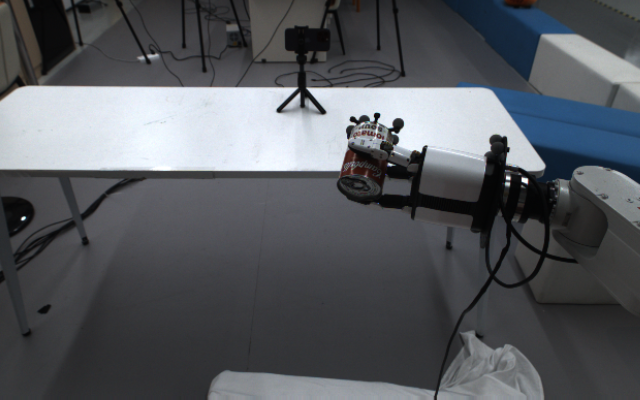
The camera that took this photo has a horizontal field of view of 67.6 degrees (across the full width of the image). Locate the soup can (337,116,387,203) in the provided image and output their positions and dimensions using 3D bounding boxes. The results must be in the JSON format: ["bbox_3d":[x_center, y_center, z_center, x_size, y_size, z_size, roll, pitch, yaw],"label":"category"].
[{"bbox_3d":[0.070,-0.060,0.725,0.067,0.067,0.101,9,60,10],"label":"soup can"}]
